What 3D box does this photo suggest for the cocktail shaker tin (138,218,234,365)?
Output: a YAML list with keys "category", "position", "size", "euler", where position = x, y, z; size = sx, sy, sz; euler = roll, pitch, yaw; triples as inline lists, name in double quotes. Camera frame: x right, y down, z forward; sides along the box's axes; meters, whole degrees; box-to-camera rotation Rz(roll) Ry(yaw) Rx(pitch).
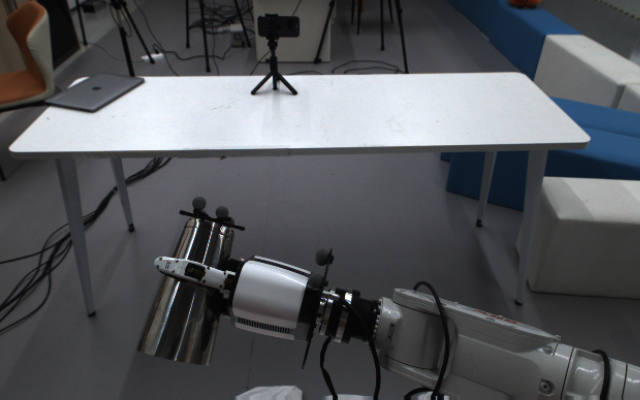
- category: "cocktail shaker tin"
  position: [-0.165, 0.116, 0.622]
  size: [0.093, 0.093, 0.170]
  euler: [10, 74, 12]
